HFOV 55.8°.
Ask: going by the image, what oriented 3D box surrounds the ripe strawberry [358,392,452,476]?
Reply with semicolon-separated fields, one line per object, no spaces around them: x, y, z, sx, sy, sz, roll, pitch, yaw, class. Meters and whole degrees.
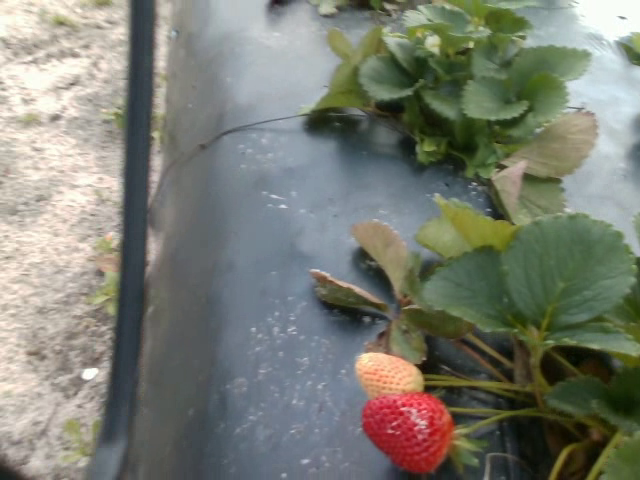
0.036;0.077;0.255;0.041;0.034;0.033;30;-32;-10;ripe strawberry
